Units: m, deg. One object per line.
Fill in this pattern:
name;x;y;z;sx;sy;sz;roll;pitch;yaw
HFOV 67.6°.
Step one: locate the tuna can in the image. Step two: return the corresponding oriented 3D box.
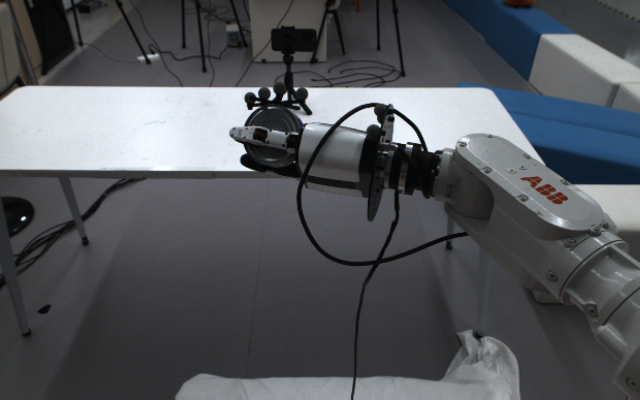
tuna can;-0.064;-0.089;0.686;0.085;0.085;0.034;15;1;18
